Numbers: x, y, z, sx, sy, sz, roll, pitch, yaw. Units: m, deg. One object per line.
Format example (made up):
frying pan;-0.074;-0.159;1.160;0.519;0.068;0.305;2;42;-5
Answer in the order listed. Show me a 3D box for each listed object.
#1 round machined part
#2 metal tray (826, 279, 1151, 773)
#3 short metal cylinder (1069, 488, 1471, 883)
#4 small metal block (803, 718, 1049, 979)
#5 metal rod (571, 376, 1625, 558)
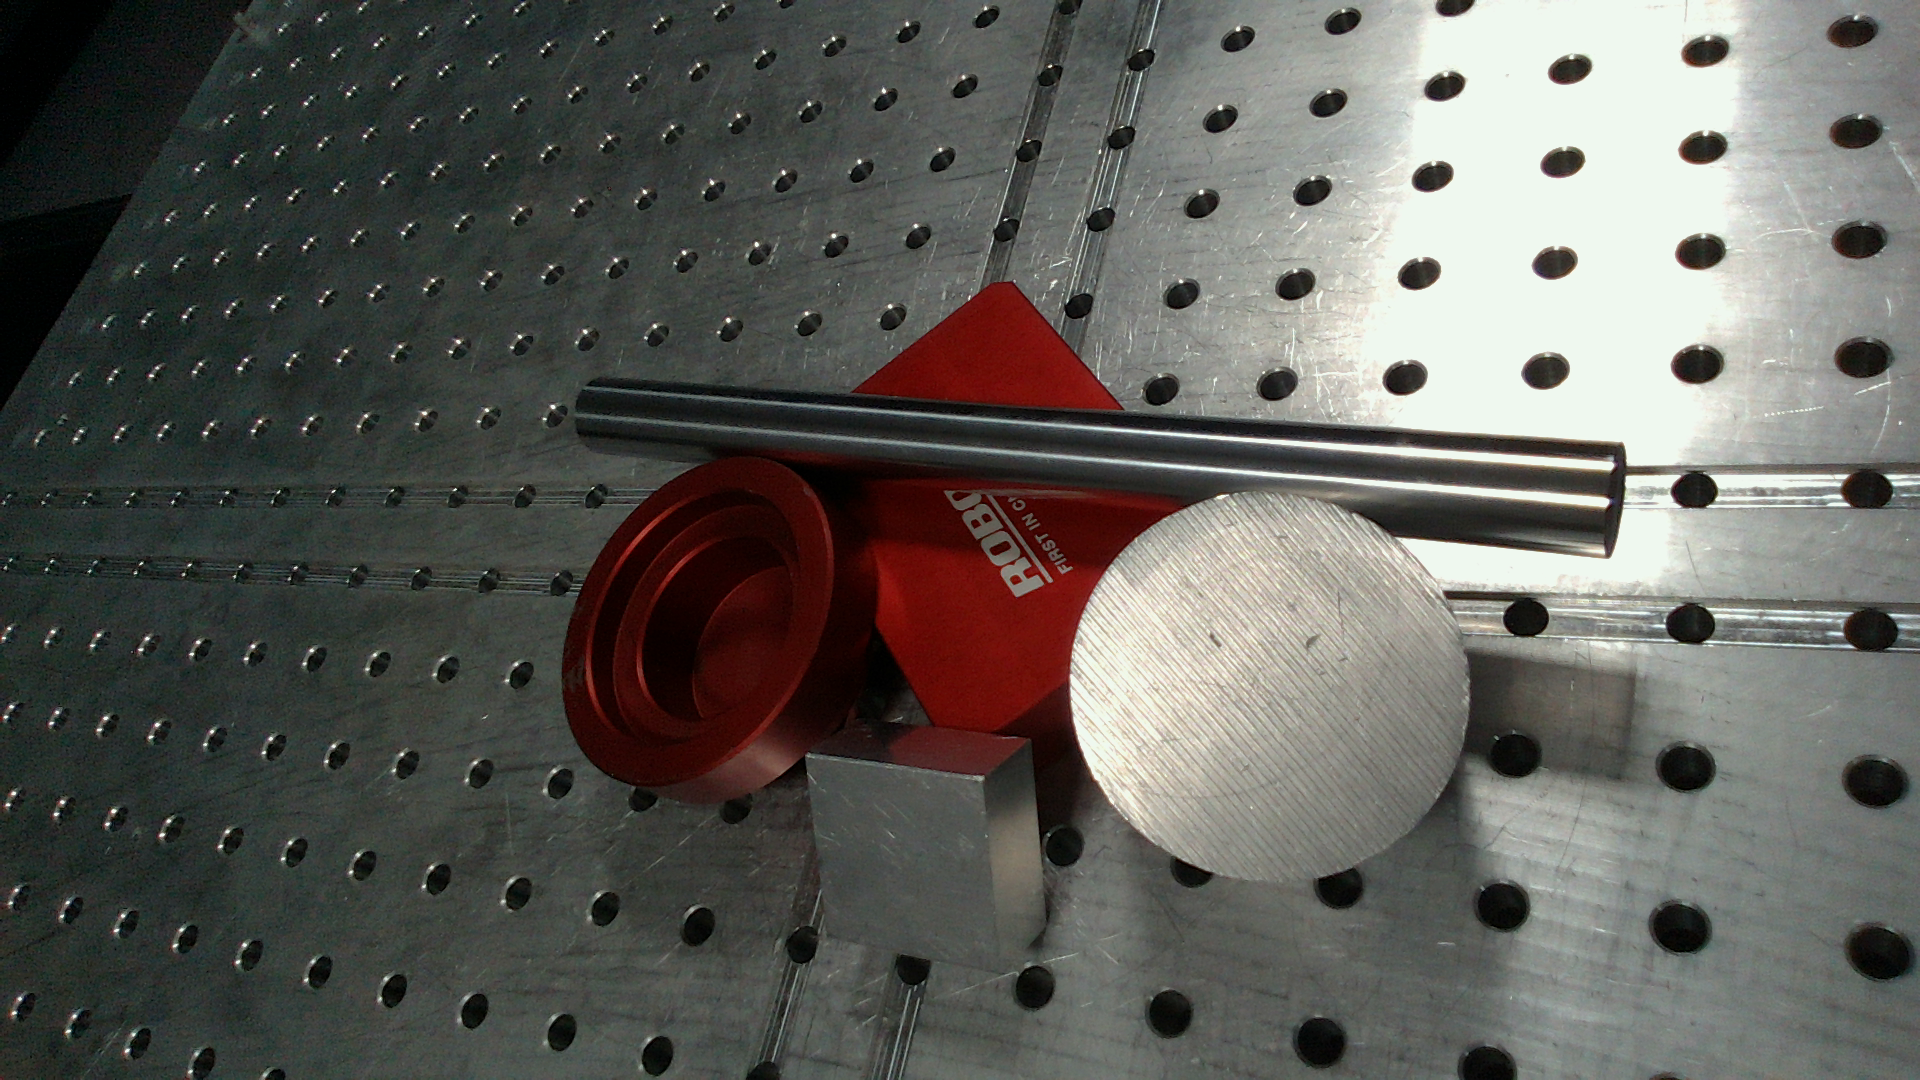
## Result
round machined part;-0.065;0.027;0.398;0.098;0.042;0.098;-15;60;28
metal tray;0.014;-0.007;0.392;0.090;0.030;0.130;-37;51;3
short metal cylinder;0.067;0.033;0.304;0.080;0.050;0.080;-2;81;11
small metal block;-0.008;0.074;0.338;0.050;0.025;0.050;3;106;29
metal rod;0.011;-0.025;0.366;0.299;0.025;0.025;7;65;32
